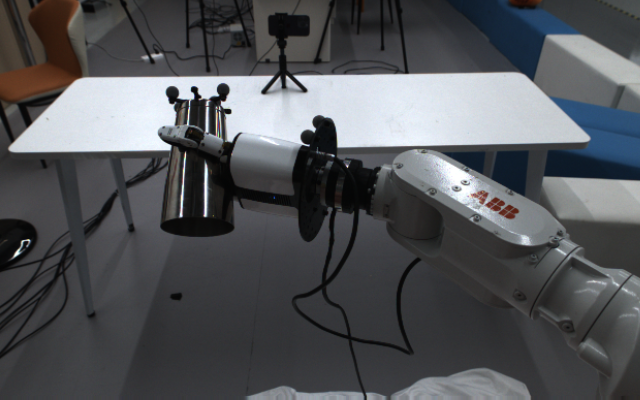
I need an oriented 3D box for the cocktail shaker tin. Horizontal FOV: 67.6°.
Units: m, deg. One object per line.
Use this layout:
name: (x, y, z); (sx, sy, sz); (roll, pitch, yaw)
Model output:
cocktail shaker tin: (-0.161, -0.044, 0.643); (0.093, 0.093, 0.170); (-2, 71, -6)
